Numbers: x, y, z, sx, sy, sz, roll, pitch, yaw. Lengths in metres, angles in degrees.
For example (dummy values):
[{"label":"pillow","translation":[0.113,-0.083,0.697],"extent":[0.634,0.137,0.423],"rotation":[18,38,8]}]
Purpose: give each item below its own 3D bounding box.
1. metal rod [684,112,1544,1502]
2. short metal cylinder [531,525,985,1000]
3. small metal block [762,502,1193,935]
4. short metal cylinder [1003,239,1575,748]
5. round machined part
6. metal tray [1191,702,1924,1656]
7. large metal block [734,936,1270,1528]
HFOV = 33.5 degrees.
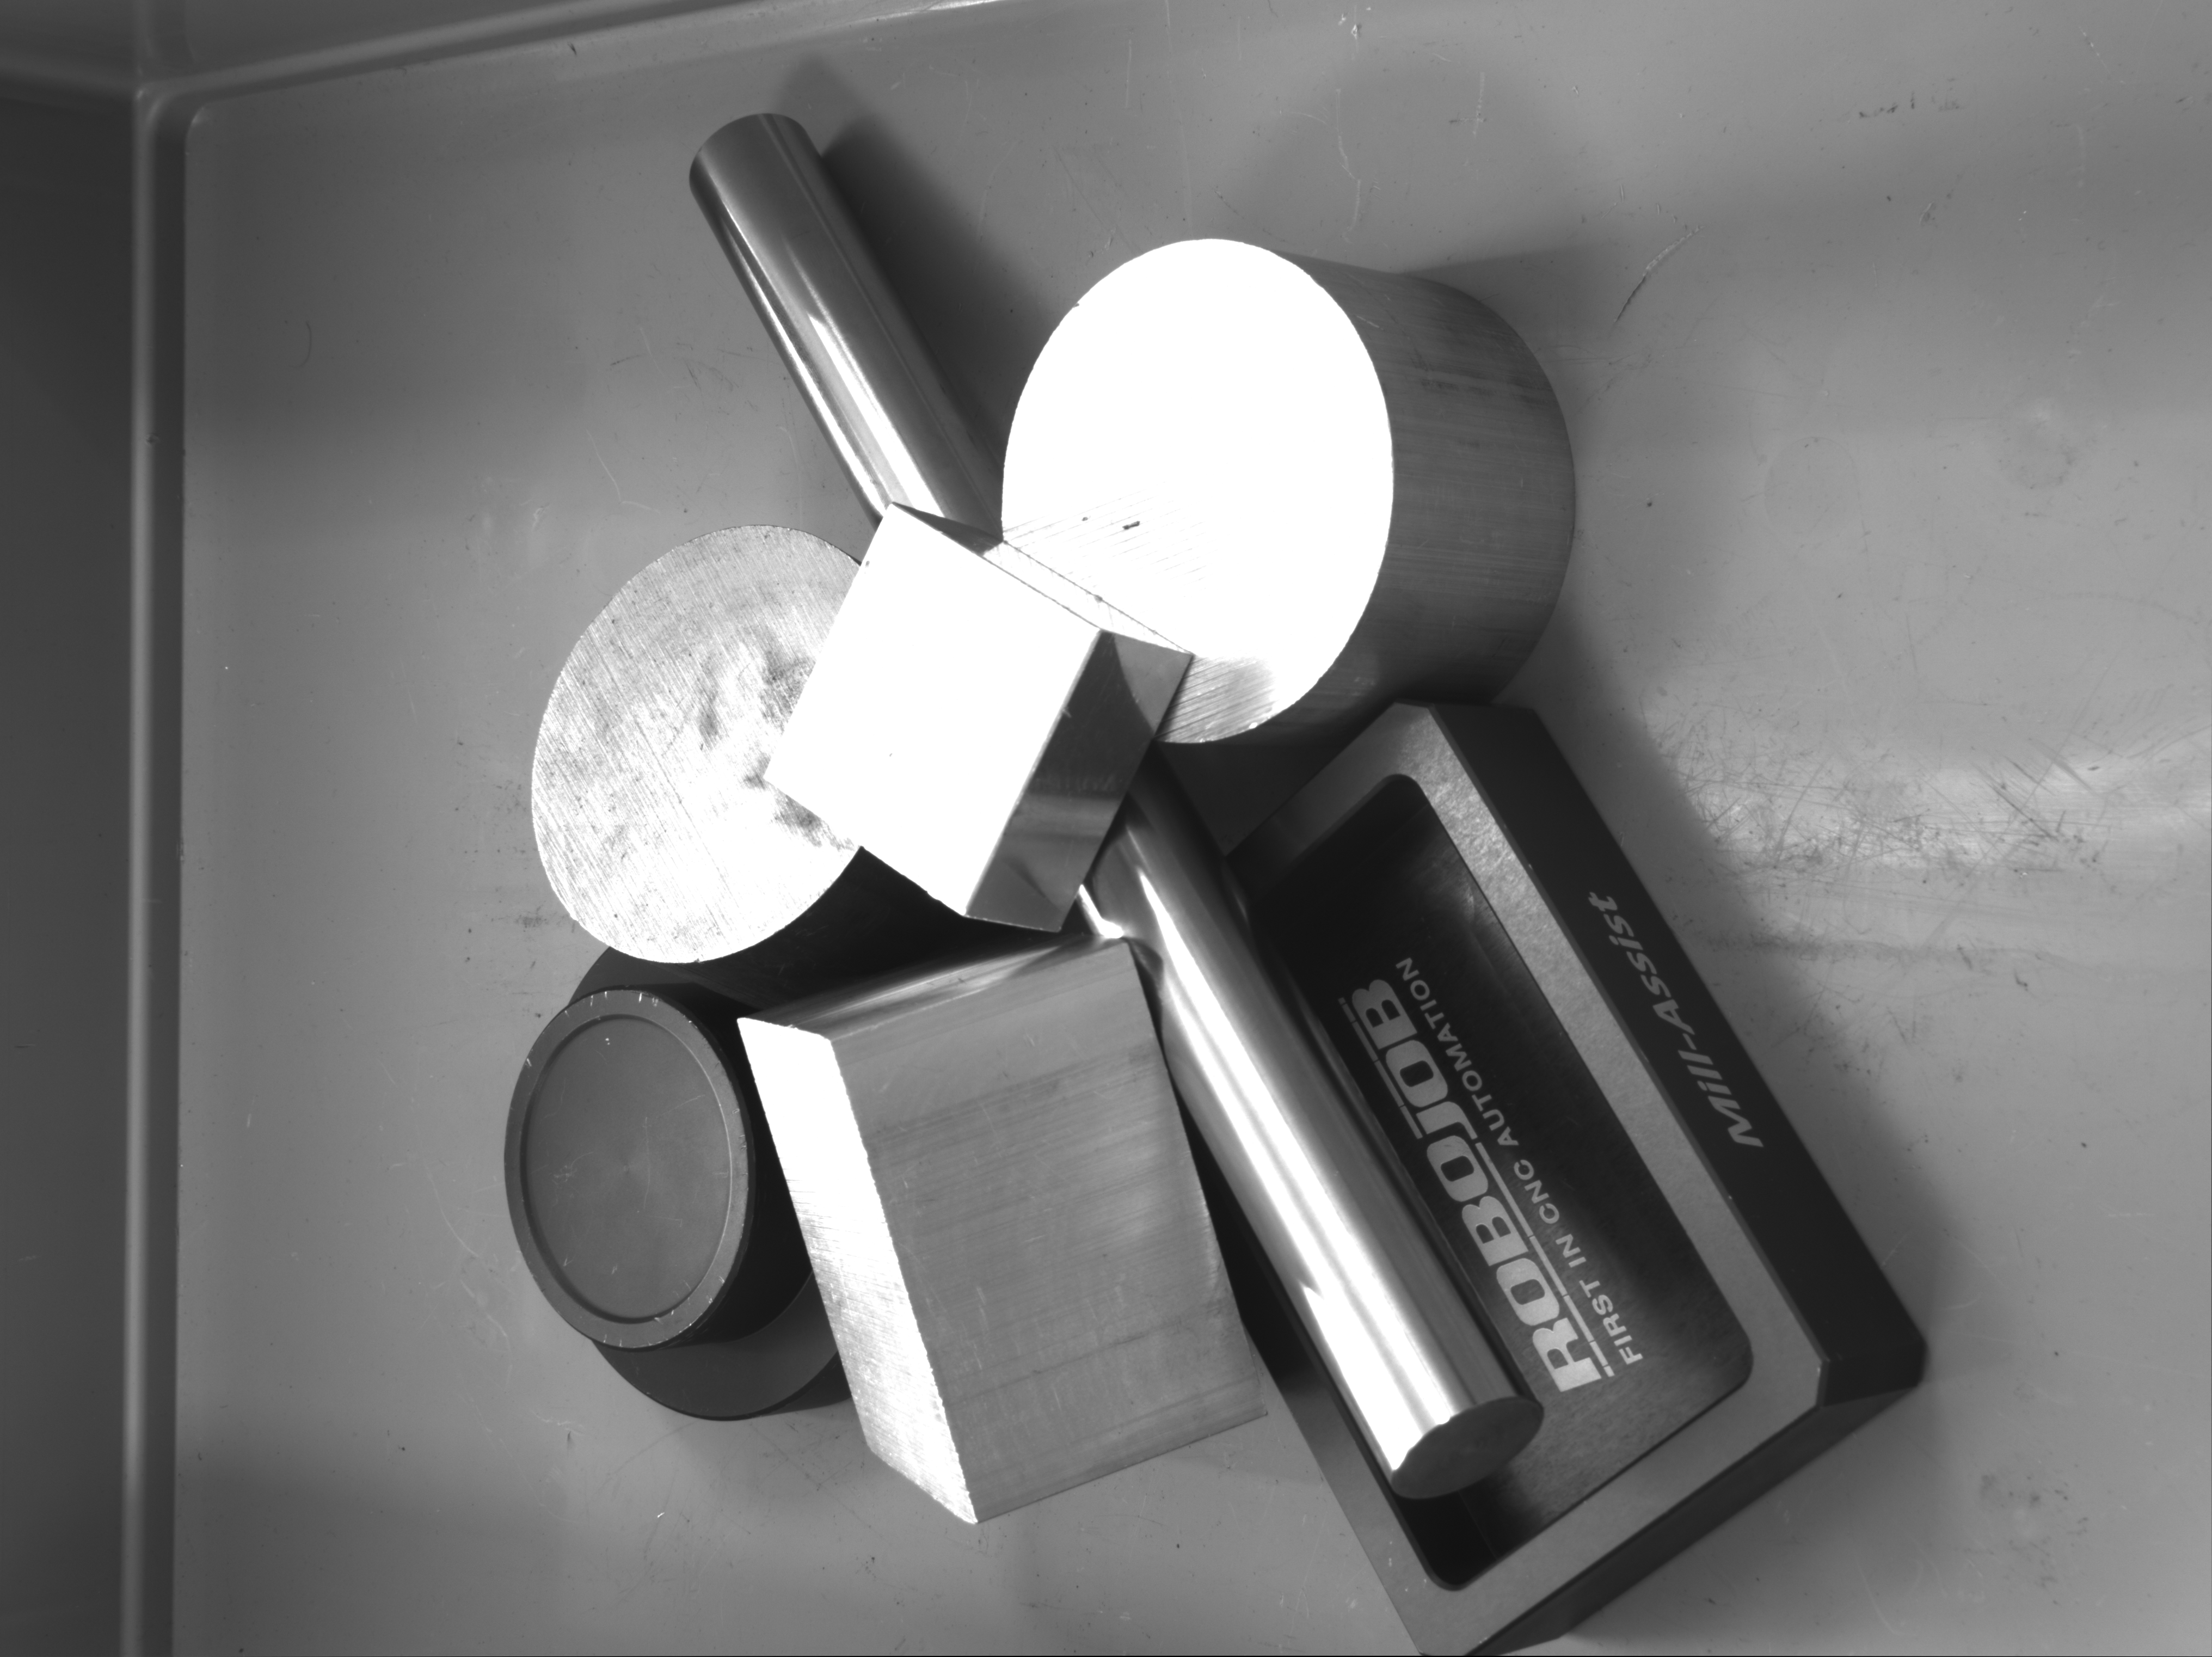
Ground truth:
[{"label":"metal rod","translation":[-0.008,-0.018,0.618],"extent":[0.025,0.025,0.299],"rotation":[-50,51,28]},{"label":"short metal cylinder","translation":[-0.056,-0.008,0.660],"extent":[0.080,0.050,0.080],"rotation":[-11,68,29]},{"label":"small metal block","translation":[-0.021,-0.018,0.592],"extent":[0.050,0.025,0.050],"rotation":[33,102,36]},{"label":"short metal cylinder","translation":[0.030,-0.053,0.603],"extent":[0.080,0.050,0.080],"rotation":[0,90,40]},{"label":"round machined part","translation":[-0.076,0.064,0.696],"extent":[0.098,0.042,0.098],"rotation":[0,90,40]},{"label":"metal tray","translation":[0.060,0.056,0.590],"extent":[0.090,0.030,0.130],"rotation":[-44,63,31]},{"label":"large metal block","translation":[-0.020,0.063,0.610],"extent":[0.080,0.050,0.080],"rotation":[178,75,-73]}]
